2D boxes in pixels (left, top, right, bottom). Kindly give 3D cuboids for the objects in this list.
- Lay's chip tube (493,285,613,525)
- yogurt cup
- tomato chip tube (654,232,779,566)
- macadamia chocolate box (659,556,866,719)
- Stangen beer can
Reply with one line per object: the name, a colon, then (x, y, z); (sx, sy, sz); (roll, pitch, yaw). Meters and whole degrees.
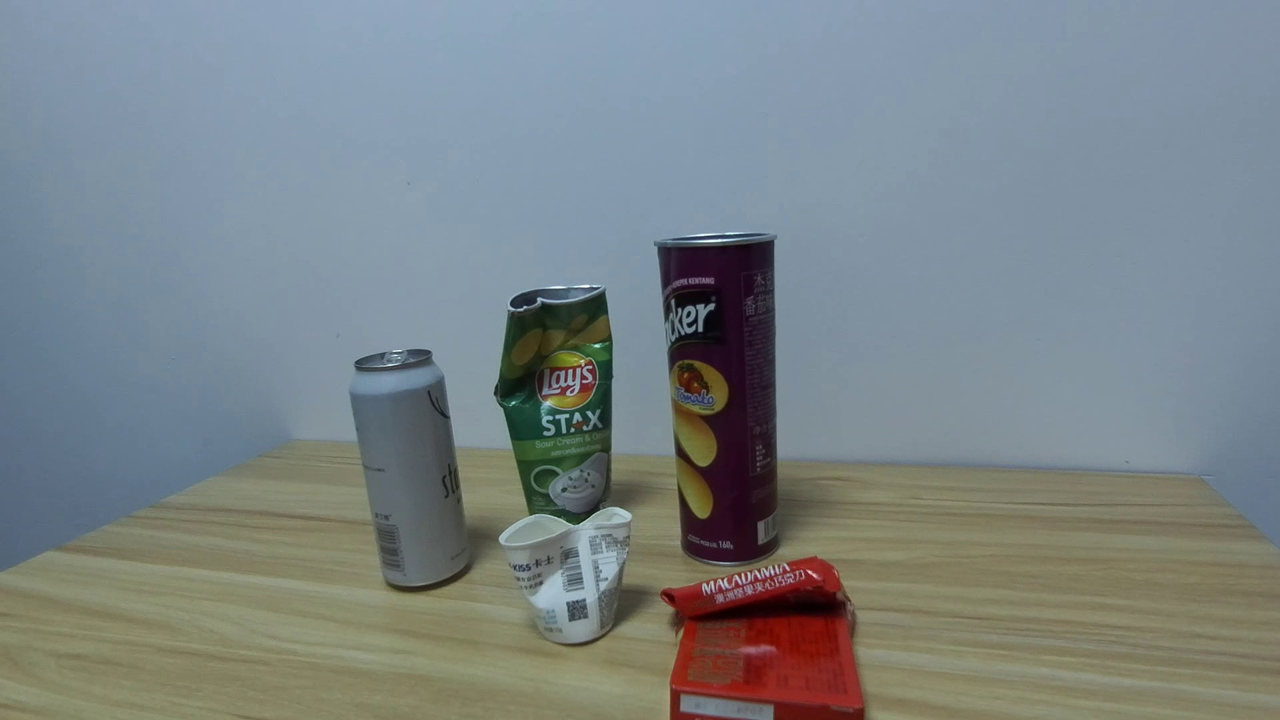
Lay's chip tube: (-0.065, 0.043, 0.578); (0.069, 0.201, 0.077); (5, 19, 36)
yogurt cup: (-0.043, 0.135, 0.452); (0.076, 0.071, 0.053); (-17, 20, -37)
tomato chip tube: (0.061, 0.028, 0.520); (0.077, 0.234, 0.080); (-8, 14, -14)
macadamia chocolate box: (0.063, 0.160, 0.396); (0.112, 0.056, 0.126); (-17, 12, 15)
Stangen beer can: (-0.171, 0.082, 0.528); (0.067, 0.171, 0.067); (-6, 11, 1)
